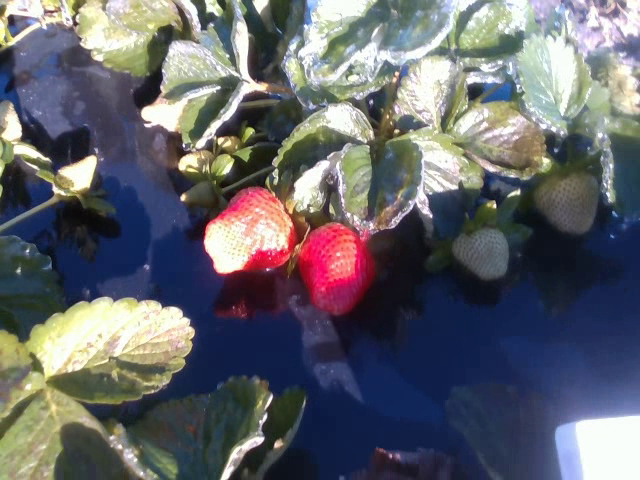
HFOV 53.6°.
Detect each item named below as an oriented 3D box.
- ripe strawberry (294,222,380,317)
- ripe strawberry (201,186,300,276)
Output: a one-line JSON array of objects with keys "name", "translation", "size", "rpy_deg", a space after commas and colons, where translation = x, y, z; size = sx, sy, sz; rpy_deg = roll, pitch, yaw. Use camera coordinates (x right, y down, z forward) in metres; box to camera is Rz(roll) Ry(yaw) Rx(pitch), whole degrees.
[{"name": "ripe strawberry", "translation": [0.008, 0.013, 0.350], "size": [0.043, 0.059, 0.040], "rpy_deg": [-4, -29, 0]}, {"name": "ripe strawberry", "translation": [-0.041, -0.001, 0.368], "size": [0.069, 0.052, 0.040], "rpy_deg": [-42, -12, -24]}]
